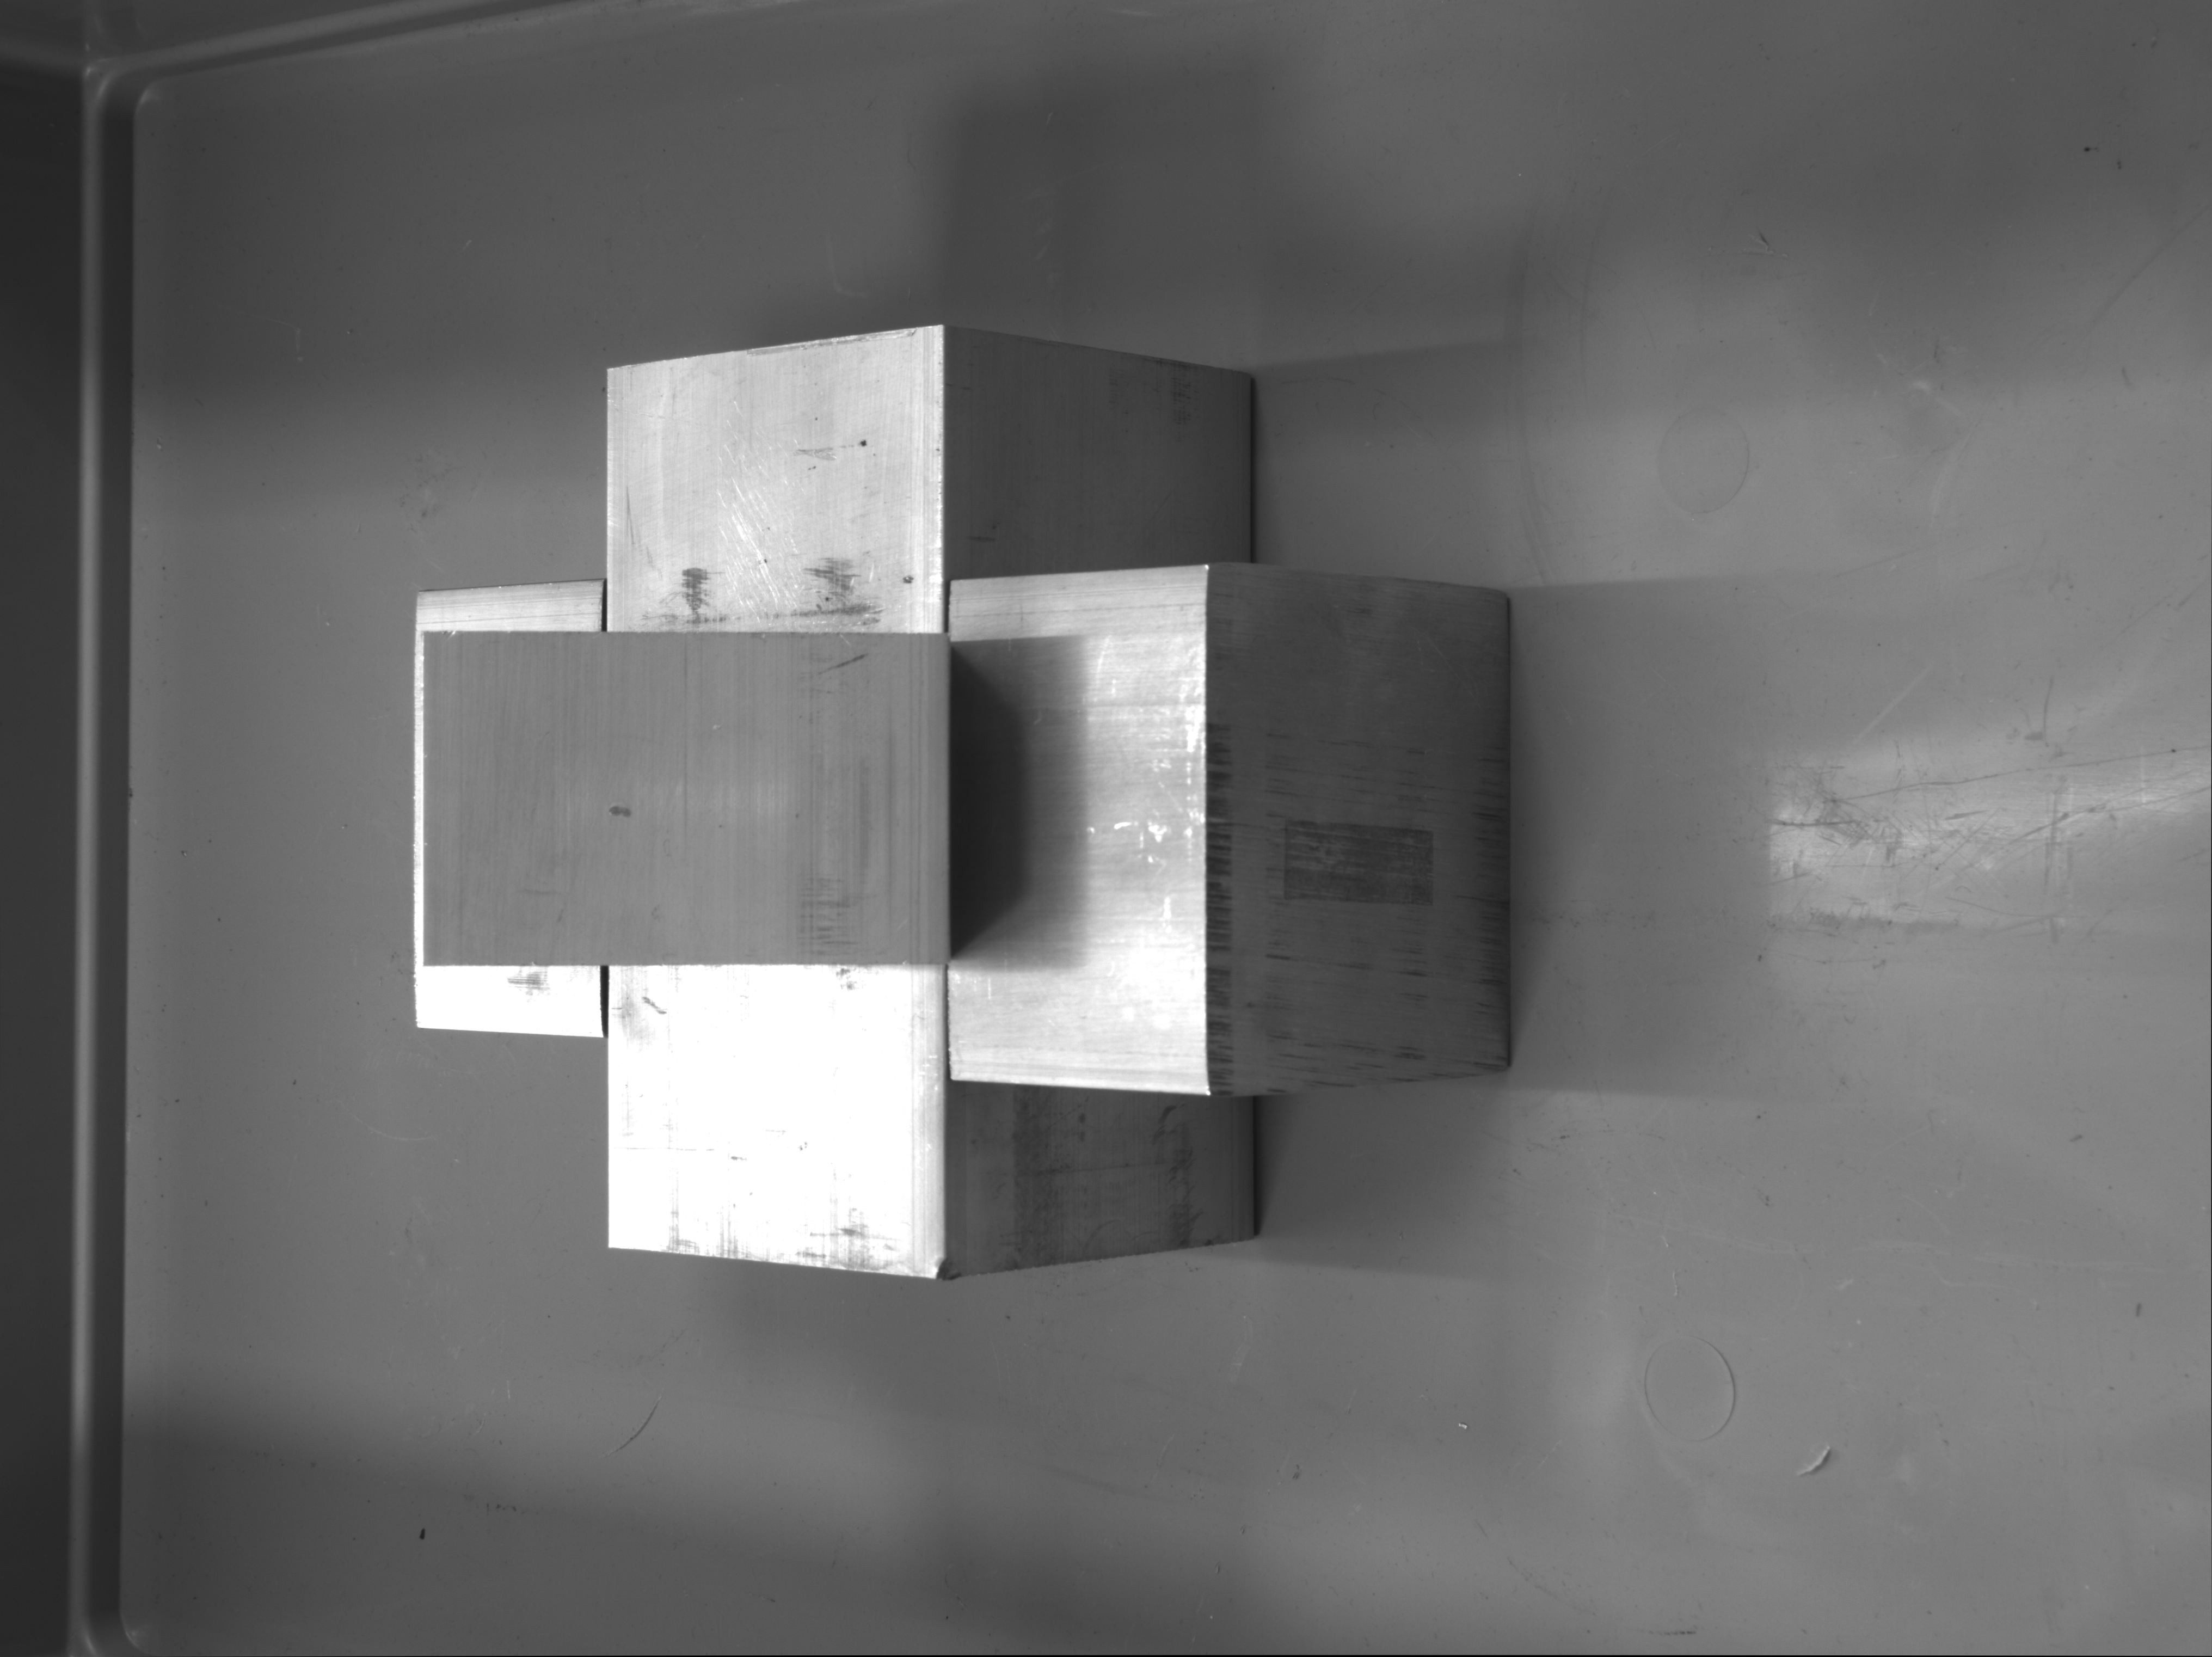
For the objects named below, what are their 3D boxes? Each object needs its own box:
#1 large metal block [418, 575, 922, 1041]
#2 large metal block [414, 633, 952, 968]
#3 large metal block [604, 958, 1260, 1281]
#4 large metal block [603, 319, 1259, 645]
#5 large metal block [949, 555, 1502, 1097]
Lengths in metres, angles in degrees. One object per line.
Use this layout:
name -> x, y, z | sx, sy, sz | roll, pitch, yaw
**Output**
large metal block -> -0.079, -0.003, 0.675 | 0.050, 0.080, 0.080 | 0, 90, 40
large metal block -> -0.066, -0.004, 0.590 | 0.080, 0.080, 0.050 | 0, 90, -5
large metal block -> -0.030, 0.046, 0.633 | 0.080, 0.080, 0.050 | 0, 90, 40
large metal block -> -0.030, -0.055, 0.633 | 0.080, 0.080, 0.050 | 0, 90, 40
large metal block -> 0.020, 0.000, 0.588 | 0.050, 0.080, 0.080 | 0, 90, 40
